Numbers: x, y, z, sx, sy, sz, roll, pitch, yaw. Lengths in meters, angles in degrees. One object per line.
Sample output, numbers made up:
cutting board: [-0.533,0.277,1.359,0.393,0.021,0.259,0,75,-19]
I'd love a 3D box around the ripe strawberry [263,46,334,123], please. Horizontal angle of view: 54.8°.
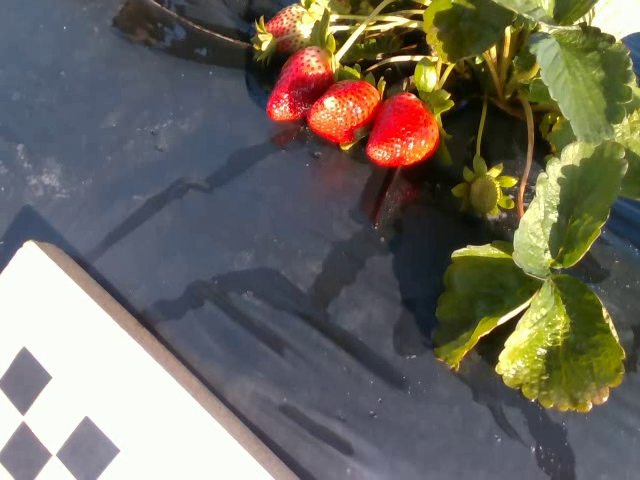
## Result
ripe strawberry: [-0.011,-0.076,0.298,0.031,0.046,0.023,37,-13,21]

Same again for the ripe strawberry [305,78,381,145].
ripe strawberry: [0.009,-0.062,0.281,0.031,0.037,0.039,48,32,21]

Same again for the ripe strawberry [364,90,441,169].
ripe strawberry: [0.032,-0.045,0.274,0.035,0.034,0.041,32,39,21]
